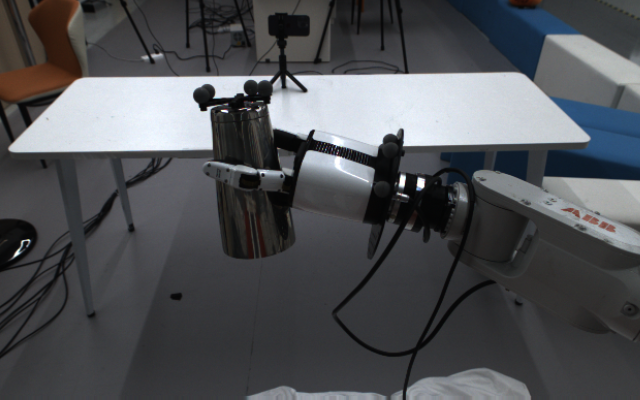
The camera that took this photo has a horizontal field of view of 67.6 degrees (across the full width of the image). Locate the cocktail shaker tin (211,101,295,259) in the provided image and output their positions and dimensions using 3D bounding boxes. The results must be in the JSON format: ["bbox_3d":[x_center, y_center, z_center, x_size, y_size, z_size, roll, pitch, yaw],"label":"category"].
[{"bbox_3d":[-0.084,-0.026,0.577,0.093,0.170,0.093,-6,19,2],"label":"cocktail shaker tin"}]
